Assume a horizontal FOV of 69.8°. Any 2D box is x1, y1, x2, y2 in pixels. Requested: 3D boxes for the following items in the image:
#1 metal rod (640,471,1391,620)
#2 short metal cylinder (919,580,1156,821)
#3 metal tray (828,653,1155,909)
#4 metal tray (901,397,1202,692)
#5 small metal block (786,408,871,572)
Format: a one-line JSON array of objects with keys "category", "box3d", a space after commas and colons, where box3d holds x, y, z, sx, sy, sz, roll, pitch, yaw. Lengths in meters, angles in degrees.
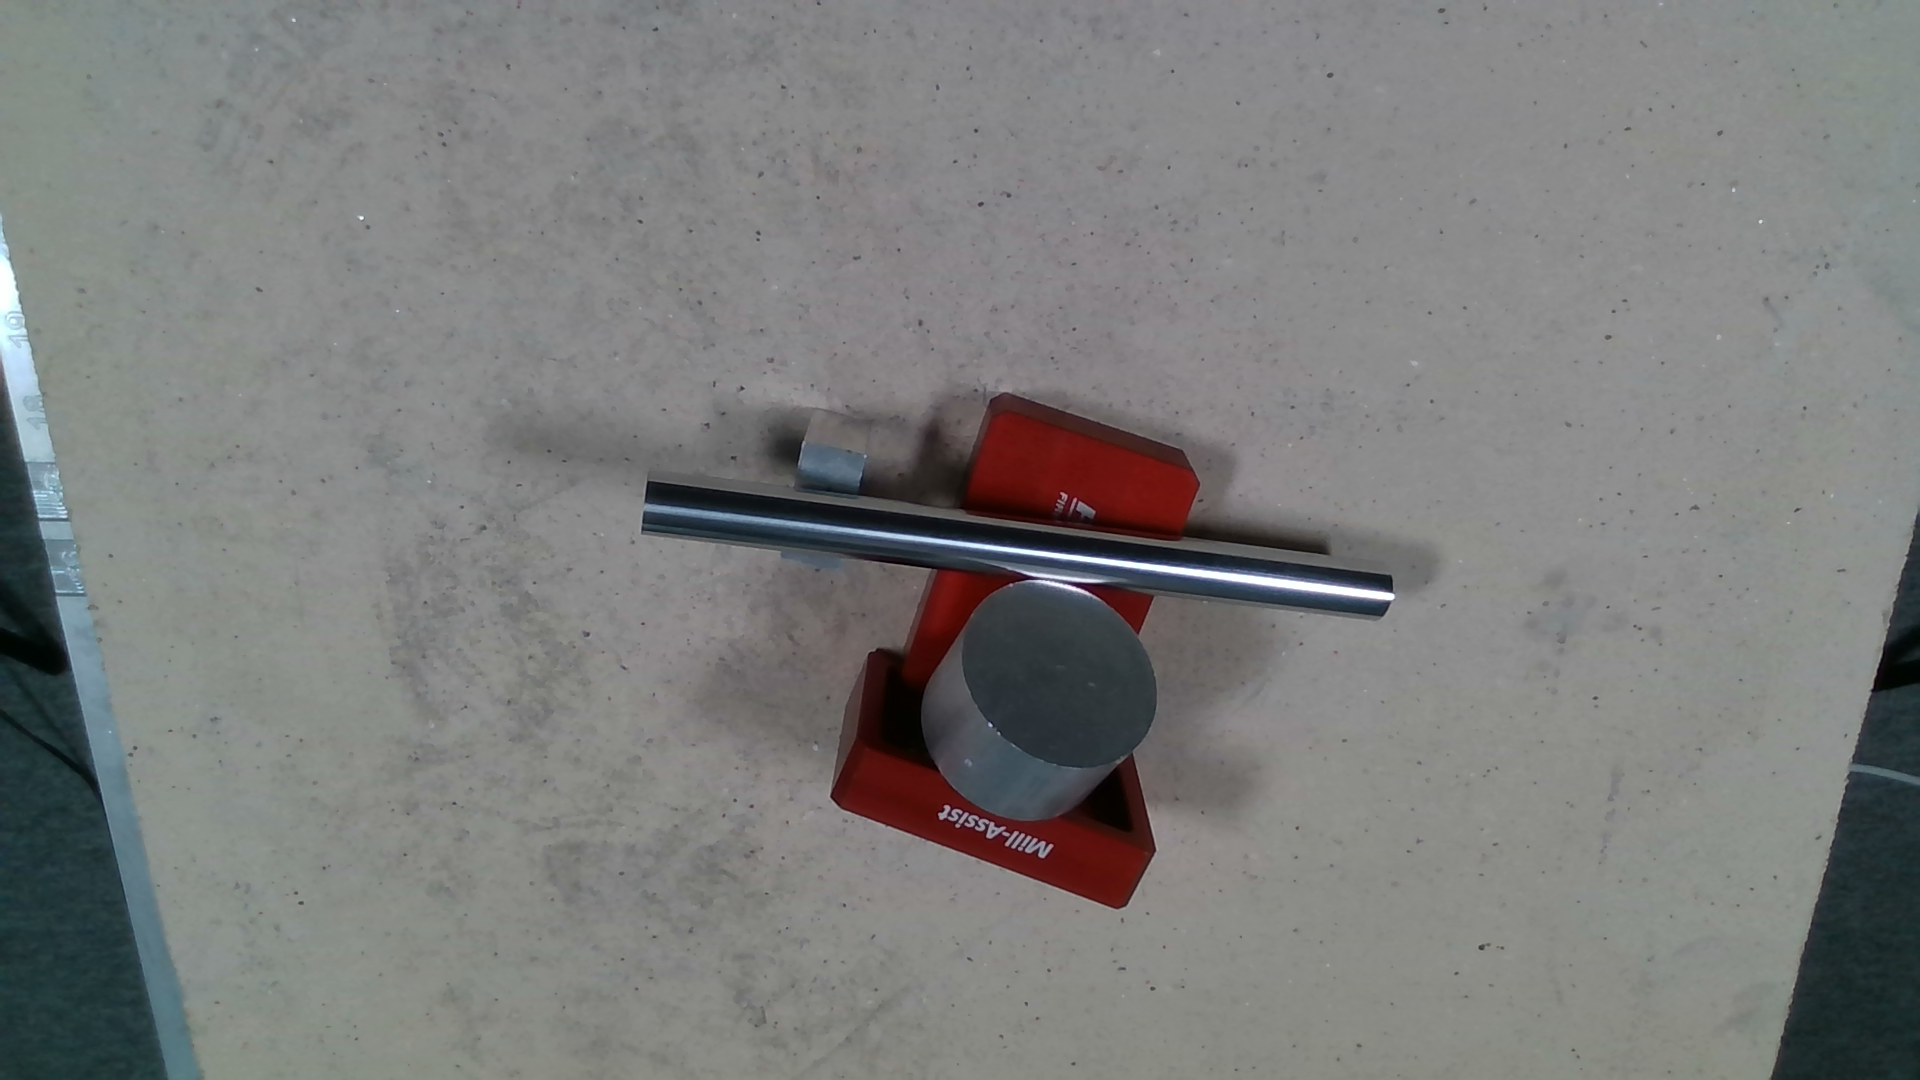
[{"category": "metal rod", "box3d": [0.028, 0.004, 0.545, 0.300, 0.025, 0.025, 7, 110, -12]}, {"category": "short metal cylinder", "box3d": [0.029, 0.063, 0.540, 0.080, 0.080, 0.050, 22, 141, -8]}, {"category": "metal tray", "box3d": [0.013, 0.100, 0.587, 0.130, 0.090, 0.030, 21, 109, -8]}, {"category": "metal tray", "box3d": [0.036, 0.013, 0.586, 0.090, 0.030, 0.130, 17, 109, -6]}, {"category": "small metal block", "box3d": [-0.055, -0.021, 0.563, 0.025, 0.050, 0.050, 12, 110, -4]}]
